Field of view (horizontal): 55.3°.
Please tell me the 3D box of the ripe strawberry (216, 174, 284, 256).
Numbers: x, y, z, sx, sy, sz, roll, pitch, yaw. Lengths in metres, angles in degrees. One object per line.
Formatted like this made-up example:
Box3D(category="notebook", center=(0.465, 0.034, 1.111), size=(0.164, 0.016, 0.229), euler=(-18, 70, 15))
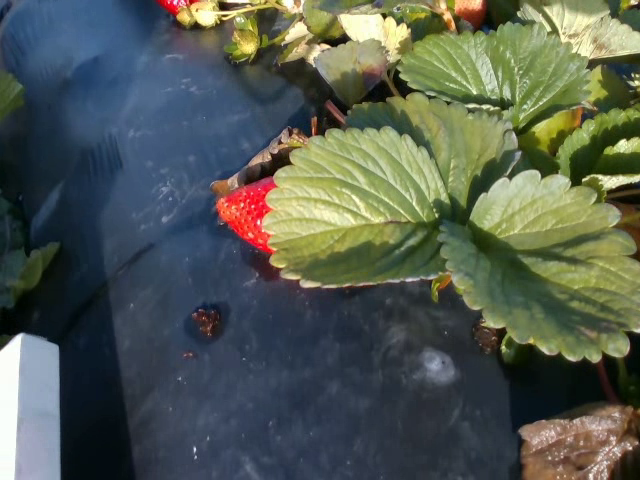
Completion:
Box3D(category="ripe strawberry", center=(-0.031, -0.011, 0.259), size=(0.054, 0.047, 0.038), euler=(3, -31, -7))
